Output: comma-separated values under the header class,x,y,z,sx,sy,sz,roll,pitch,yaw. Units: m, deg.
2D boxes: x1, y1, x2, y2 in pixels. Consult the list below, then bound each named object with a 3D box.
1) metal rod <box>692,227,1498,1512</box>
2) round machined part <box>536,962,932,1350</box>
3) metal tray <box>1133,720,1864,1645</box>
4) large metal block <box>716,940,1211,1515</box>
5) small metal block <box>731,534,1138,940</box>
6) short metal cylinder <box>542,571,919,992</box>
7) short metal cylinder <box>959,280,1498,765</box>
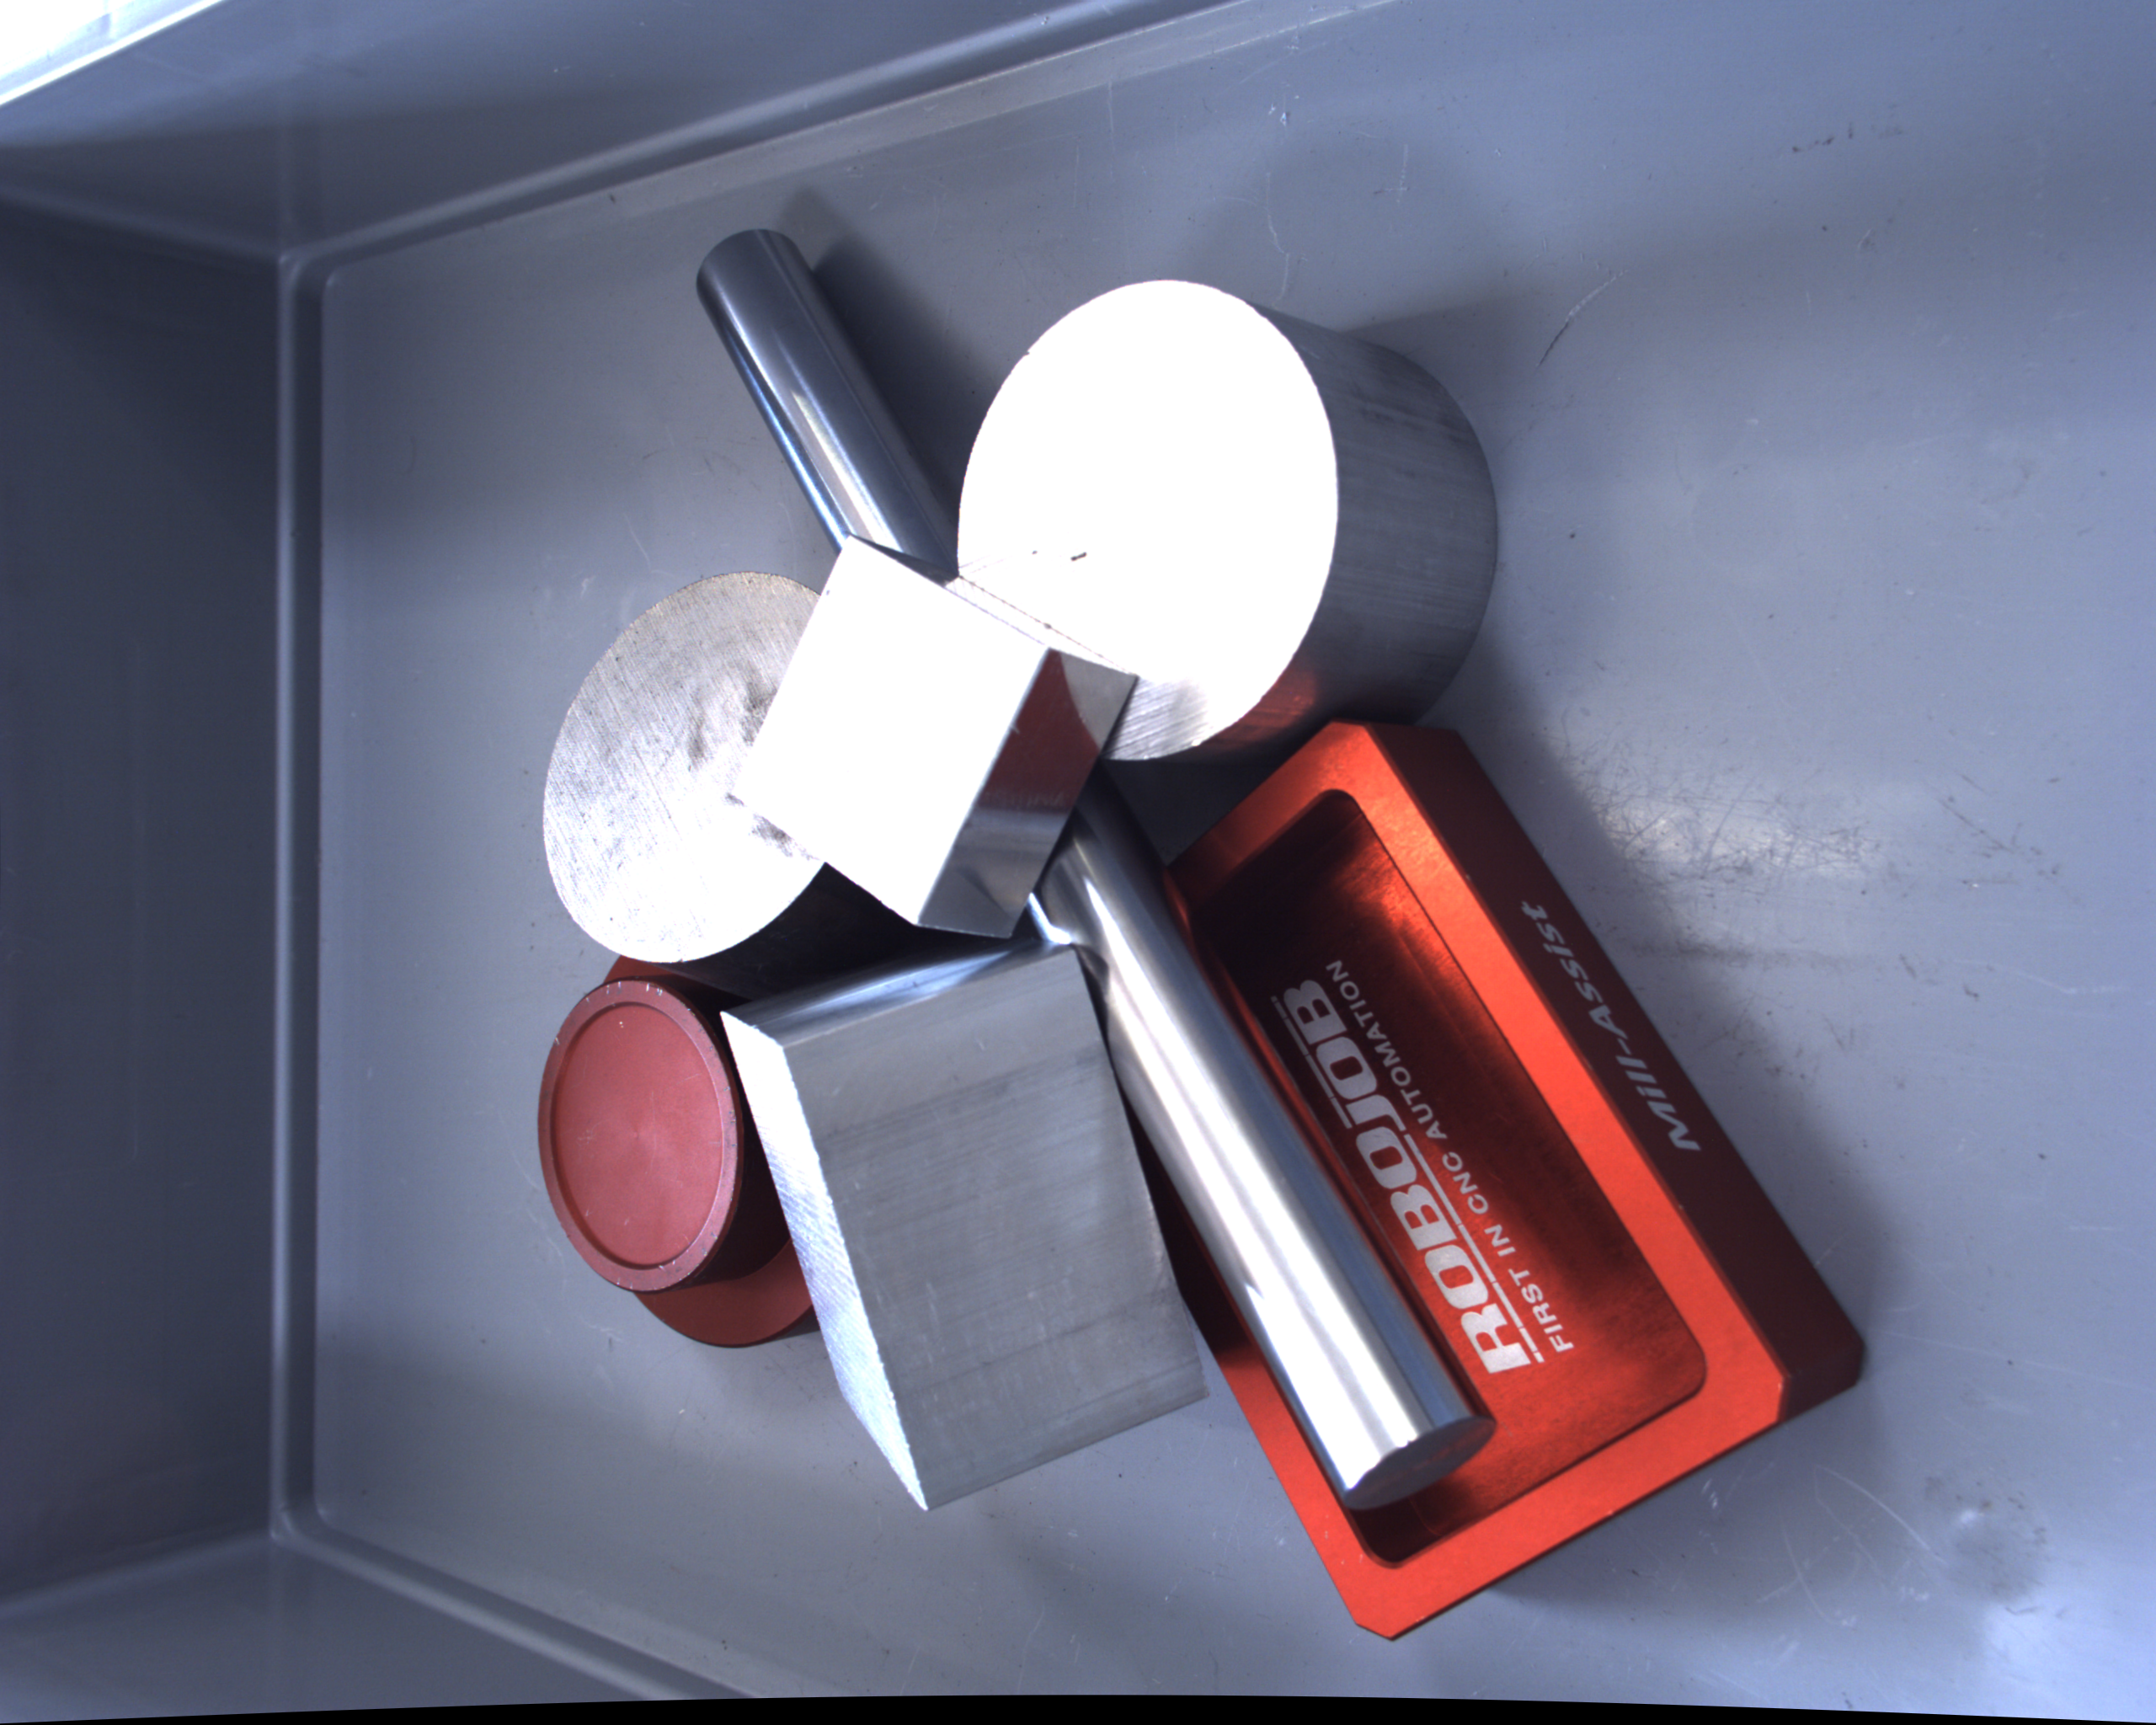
class,x,y,z,sx,sy,sz,roll,pitch,yaw
metal rod,-0.012,-0.022,0.382,0.025,0.025,0.299,-50,51,28
round machined part,-0.082,0.058,0.460,0.098,0.042,0.097,0,90,40
metal tray,0.056,0.052,0.355,0.090,0.030,0.130,-44,64,31
large metal block,-0.024,0.059,0.374,0.080,0.050,0.080,179,74,-73
small metal block,-0.025,-0.021,0.356,0.050,0.025,0.050,33,102,35
short metal cylinder,-0.061,-0.013,0.424,0.080,0.050,0.080,-10,69,28
short metal cylinder,0.026,-0.057,0.367,0.080,0.050,0.079,0,90,40
